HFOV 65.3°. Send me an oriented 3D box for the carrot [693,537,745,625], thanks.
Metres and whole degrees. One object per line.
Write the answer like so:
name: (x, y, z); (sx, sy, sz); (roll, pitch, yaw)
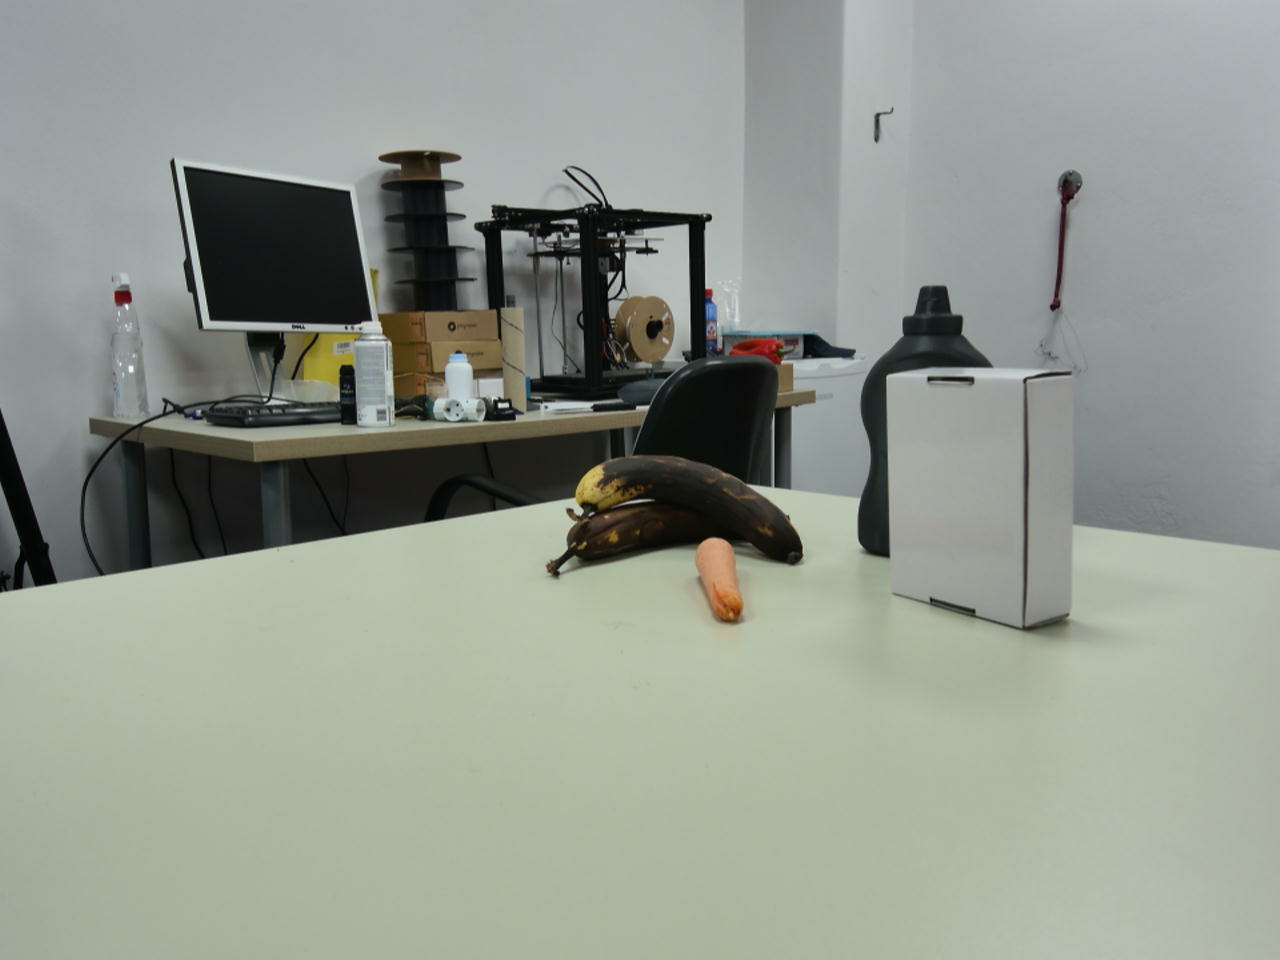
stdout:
carrot: (0.052, 0.062, 0.652); (0.030, 0.032, 0.136); (1, 7, 1)
